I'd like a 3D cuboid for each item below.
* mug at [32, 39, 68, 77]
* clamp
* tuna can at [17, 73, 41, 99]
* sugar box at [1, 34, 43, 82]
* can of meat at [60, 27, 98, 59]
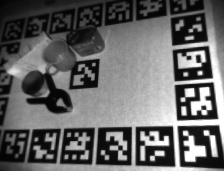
[{"bbox_3d":[-0.202,-0.080,0.707,0.092,0.082,0.117,22,82,22],"label":"mug"},{"bbox_3d":[-0.214,0.052,0.703,0.163,0.037,0.122,33,81,19],"label":"clamp"},{"bbox_3d":[-0.287,0.003,0.736,0.085,0.034,0.085,-5,73,16],"label":"tuna can"},{"bbox_3d":[-0.289,-0.088,0.740,0.176,0.094,0.045,-39,63,1],"label":"sugar box"},{"bbox_3d":[-0.103,-0.133,0.701,0.101,0.084,0.057,-12,68,13],"label":"can of meat"}]
